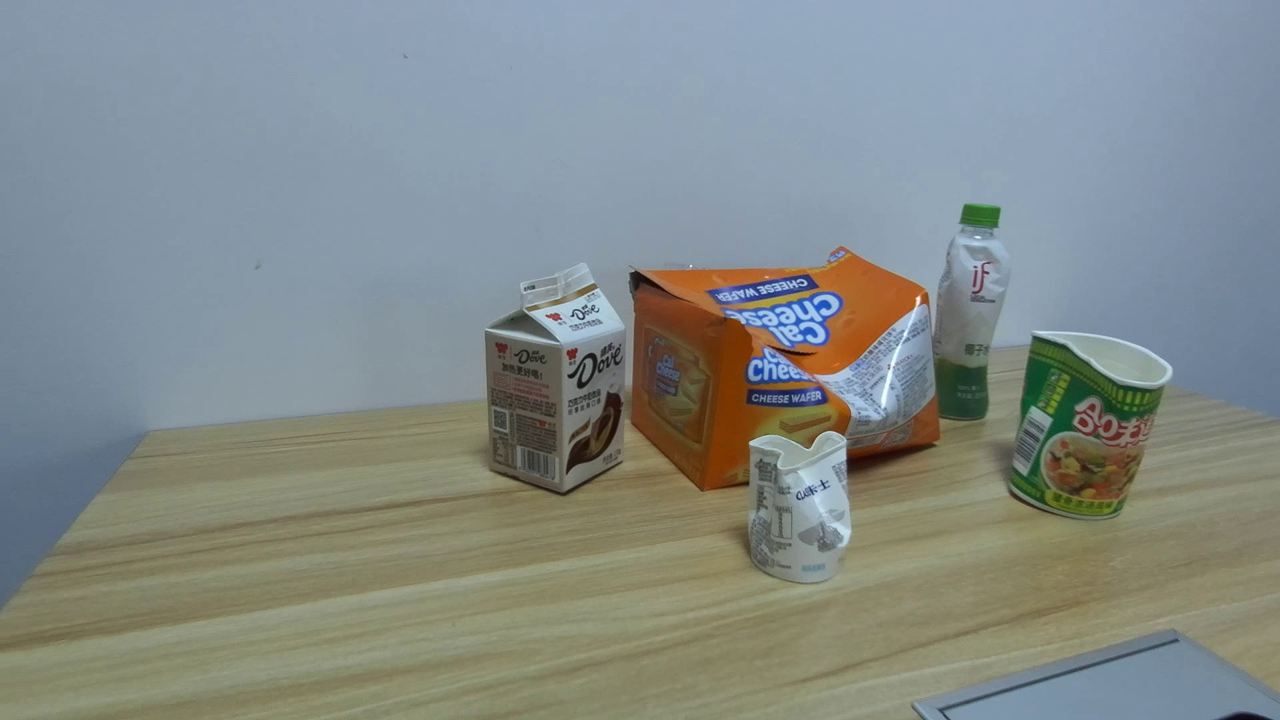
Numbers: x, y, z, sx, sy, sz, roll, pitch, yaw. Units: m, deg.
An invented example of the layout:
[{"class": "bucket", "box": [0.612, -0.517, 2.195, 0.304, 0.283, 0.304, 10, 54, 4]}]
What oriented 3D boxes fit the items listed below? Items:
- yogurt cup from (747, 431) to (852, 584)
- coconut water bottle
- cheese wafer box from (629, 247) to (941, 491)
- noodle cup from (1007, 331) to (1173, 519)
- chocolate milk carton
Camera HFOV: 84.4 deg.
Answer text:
[{"class": "yogurt cup", "box": [0.091, 0.081, 0.405, 0.055, 0.072, 0.055, -4, 17, -12]}, {"class": "coconut water bottle", "box": [0.294, -0.044, 0.638, 0.067, 0.187, 0.067, 4, 14, -1]}, {"class": "cheese wafer box", "box": [0.123, -0.003, 0.566, 0.220, 0.145, 0.190, -6, 17, -23]}, {"class": "noodle cup", "box": [0.297, 0.044, 0.477, 0.070, 0.111, 0.115, 7, 19, 23]}, {"class": "chocolate milk carton", "box": [-0.059, 0.008, 0.511, 0.073, 0.148, 0.076, 12, 19, 33]}]
